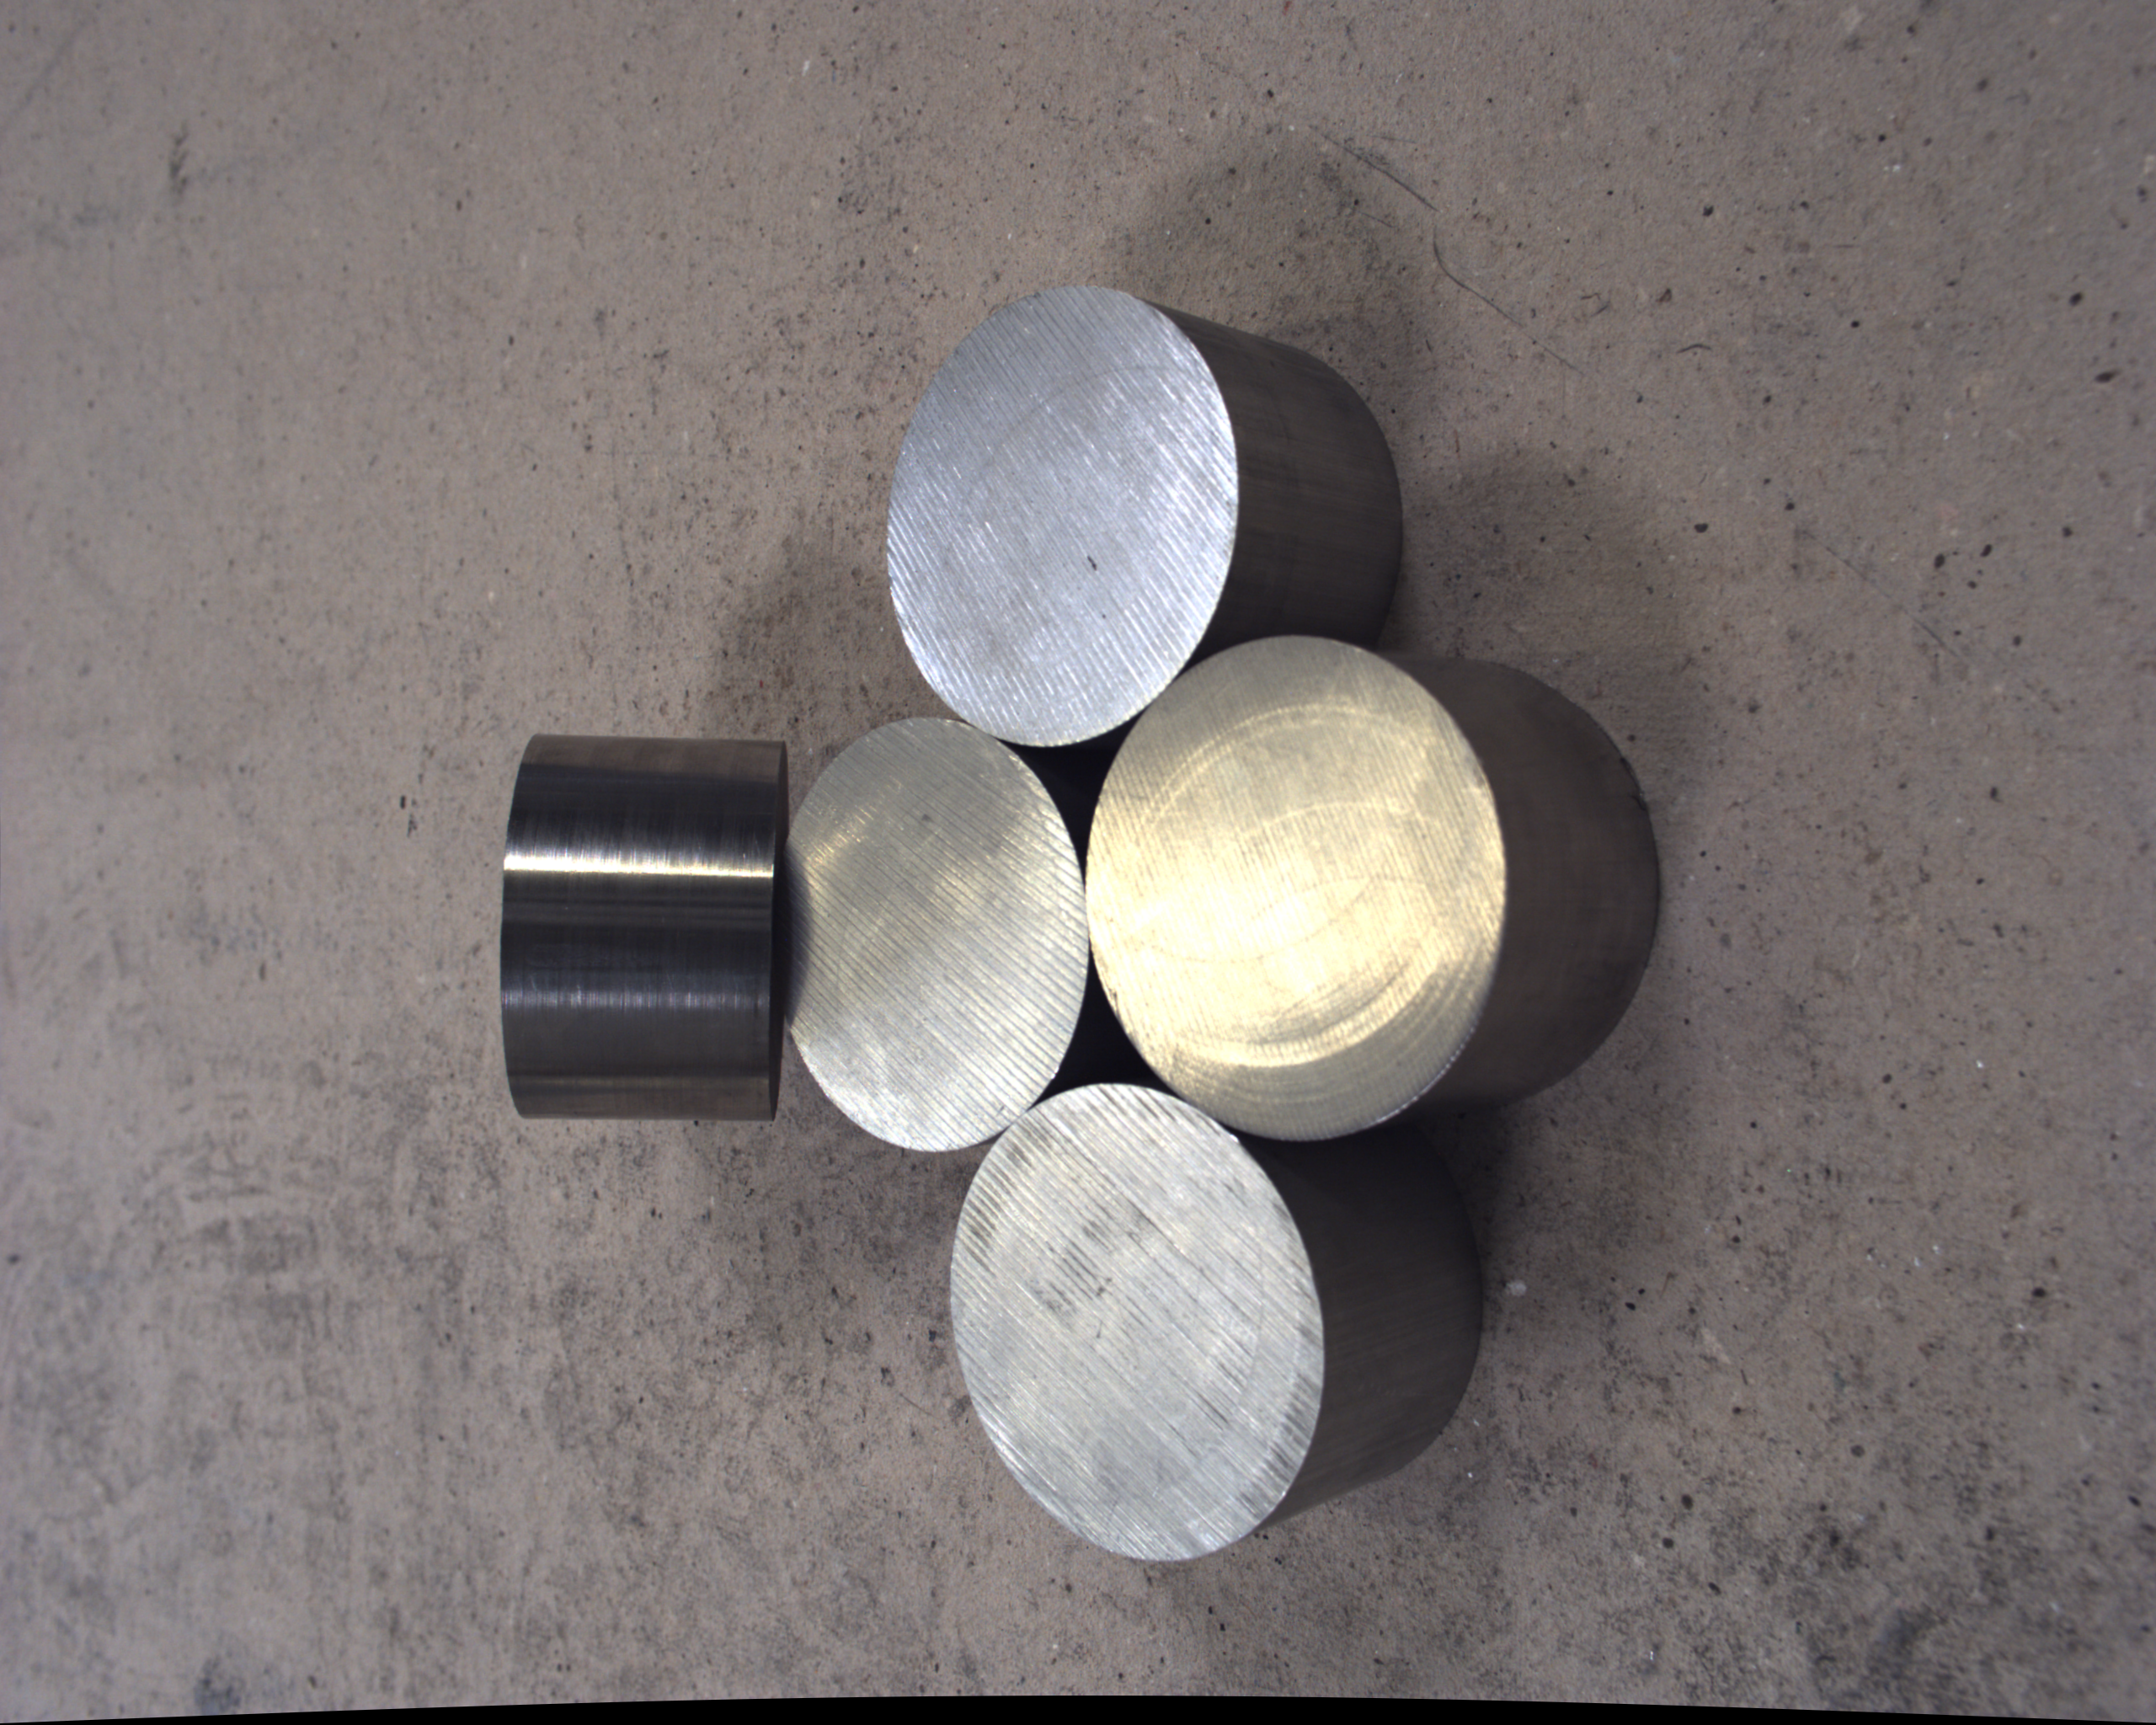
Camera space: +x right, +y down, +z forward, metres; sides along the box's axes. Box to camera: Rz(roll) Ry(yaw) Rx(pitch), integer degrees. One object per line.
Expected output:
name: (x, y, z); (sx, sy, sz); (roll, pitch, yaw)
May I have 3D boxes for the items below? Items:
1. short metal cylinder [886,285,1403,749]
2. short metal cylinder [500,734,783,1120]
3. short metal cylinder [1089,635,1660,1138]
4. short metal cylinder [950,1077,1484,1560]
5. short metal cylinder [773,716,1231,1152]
short metal cylinder: (0.011, -0.060, 0.381); (0.080, 0.050, 0.080); (0, 90, 40)
short metal cylinder: (-0.088, 0.014, 0.436); (0.080, 0.050, 0.080); (-177, 88, -84)
short metal cylinder: (0.049, 0.004, 0.350); (0.080, 0.050, 0.080); (0, 90, 40)
short metal cylinder: (0.024, 0.077, 0.371); (0.080, 0.050, 0.080); (0, 90, 40)
short metal cylinder: (-0.013, 0.013, 0.401); (0.080, 0.050, 0.080); (0, 90, 40)
